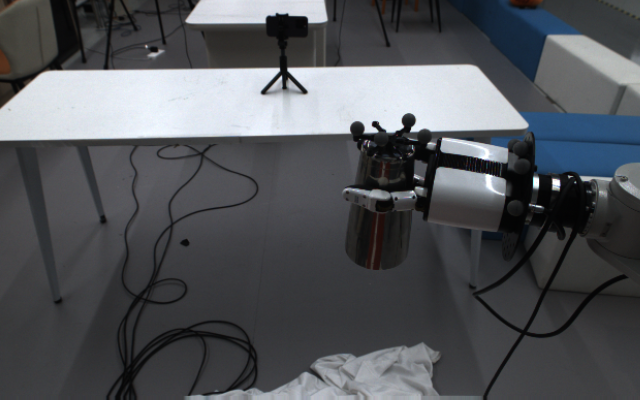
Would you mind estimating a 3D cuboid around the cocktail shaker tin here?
[{"bbox_3d":[0.086,-0.003,0.644,0.093,0.170,0.093,1,39,-1],"label":"cocktail shaker tin"}]
